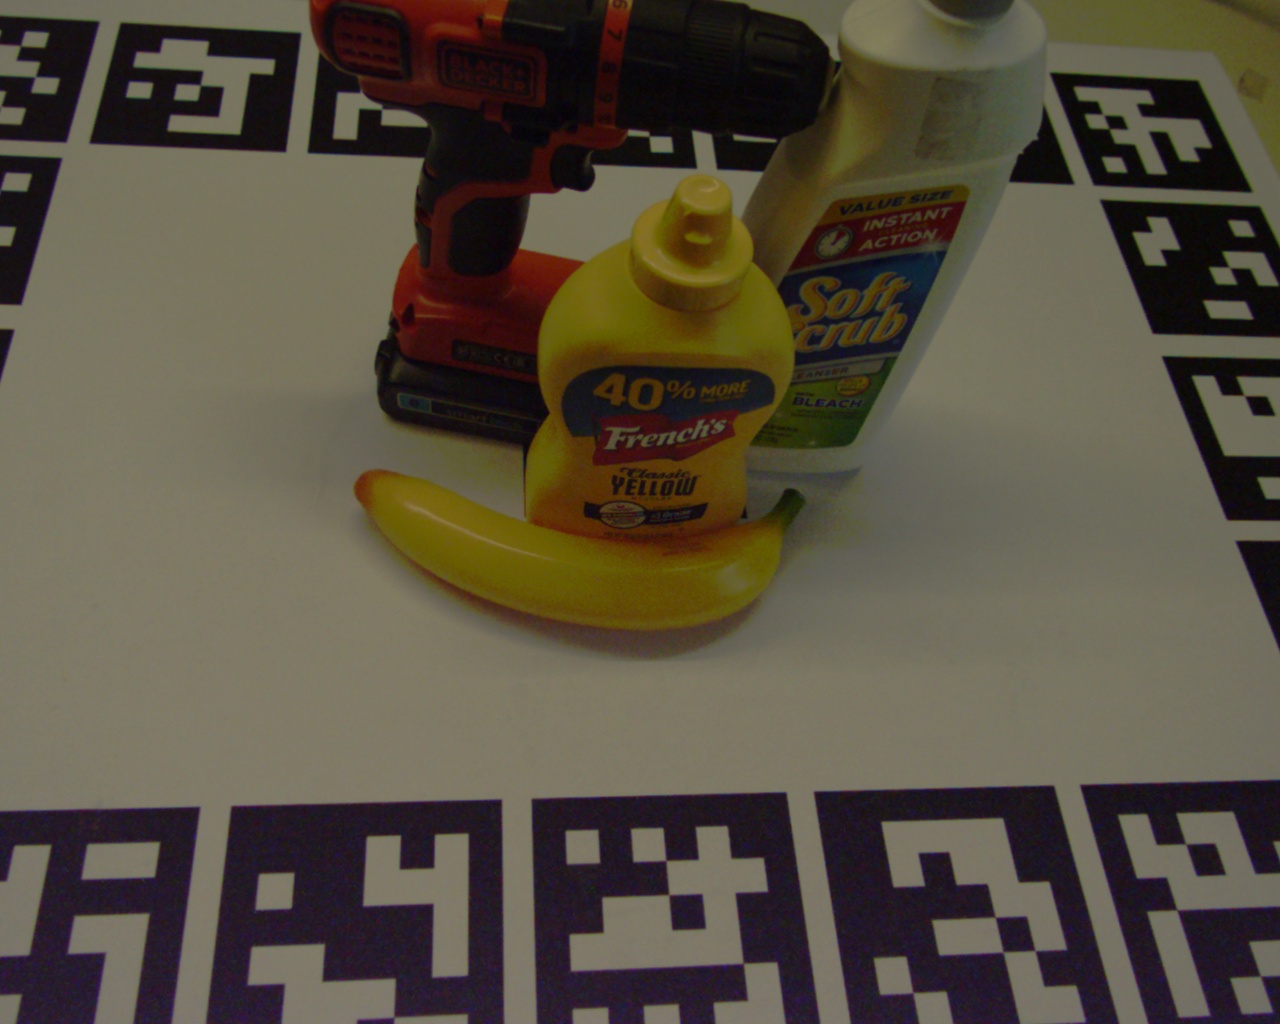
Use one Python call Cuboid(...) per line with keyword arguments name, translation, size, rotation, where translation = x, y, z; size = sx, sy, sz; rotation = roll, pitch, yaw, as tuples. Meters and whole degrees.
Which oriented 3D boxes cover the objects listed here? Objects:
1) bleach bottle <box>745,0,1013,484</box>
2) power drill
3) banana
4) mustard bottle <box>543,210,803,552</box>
Cuboid(name="bleach bottle", translation=(0.082, -0.111, 0.483), size=(0.102, 0.250, 0.068), rotation=(2, 54, -7))
Cuboid(name="power drill", translation=(-0.029, -0.120, 0.478), size=(0.184, 0.187, 0.057), rotation=(11, 58, -3))
Cuboid(name="banana", translation=(-0.015, 0.020, 0.521), size=(0.197, 0.039, 0.074), rotation=(3, 61, -3))
Cuboid(name="mustard bottle", translation=(0.014, -0.049, 0.465), size=(0.096, 0.191, 0.058), rotation=(1, 60, -9))
